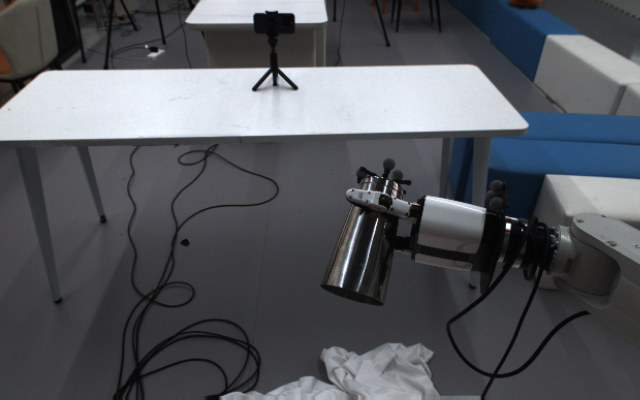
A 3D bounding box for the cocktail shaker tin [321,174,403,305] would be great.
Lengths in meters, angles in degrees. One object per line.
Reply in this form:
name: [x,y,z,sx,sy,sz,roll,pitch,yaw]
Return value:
cocktail shaker tin: [0.070,0.053,0.698,0.093,0.093,0.170,13,71,15]
